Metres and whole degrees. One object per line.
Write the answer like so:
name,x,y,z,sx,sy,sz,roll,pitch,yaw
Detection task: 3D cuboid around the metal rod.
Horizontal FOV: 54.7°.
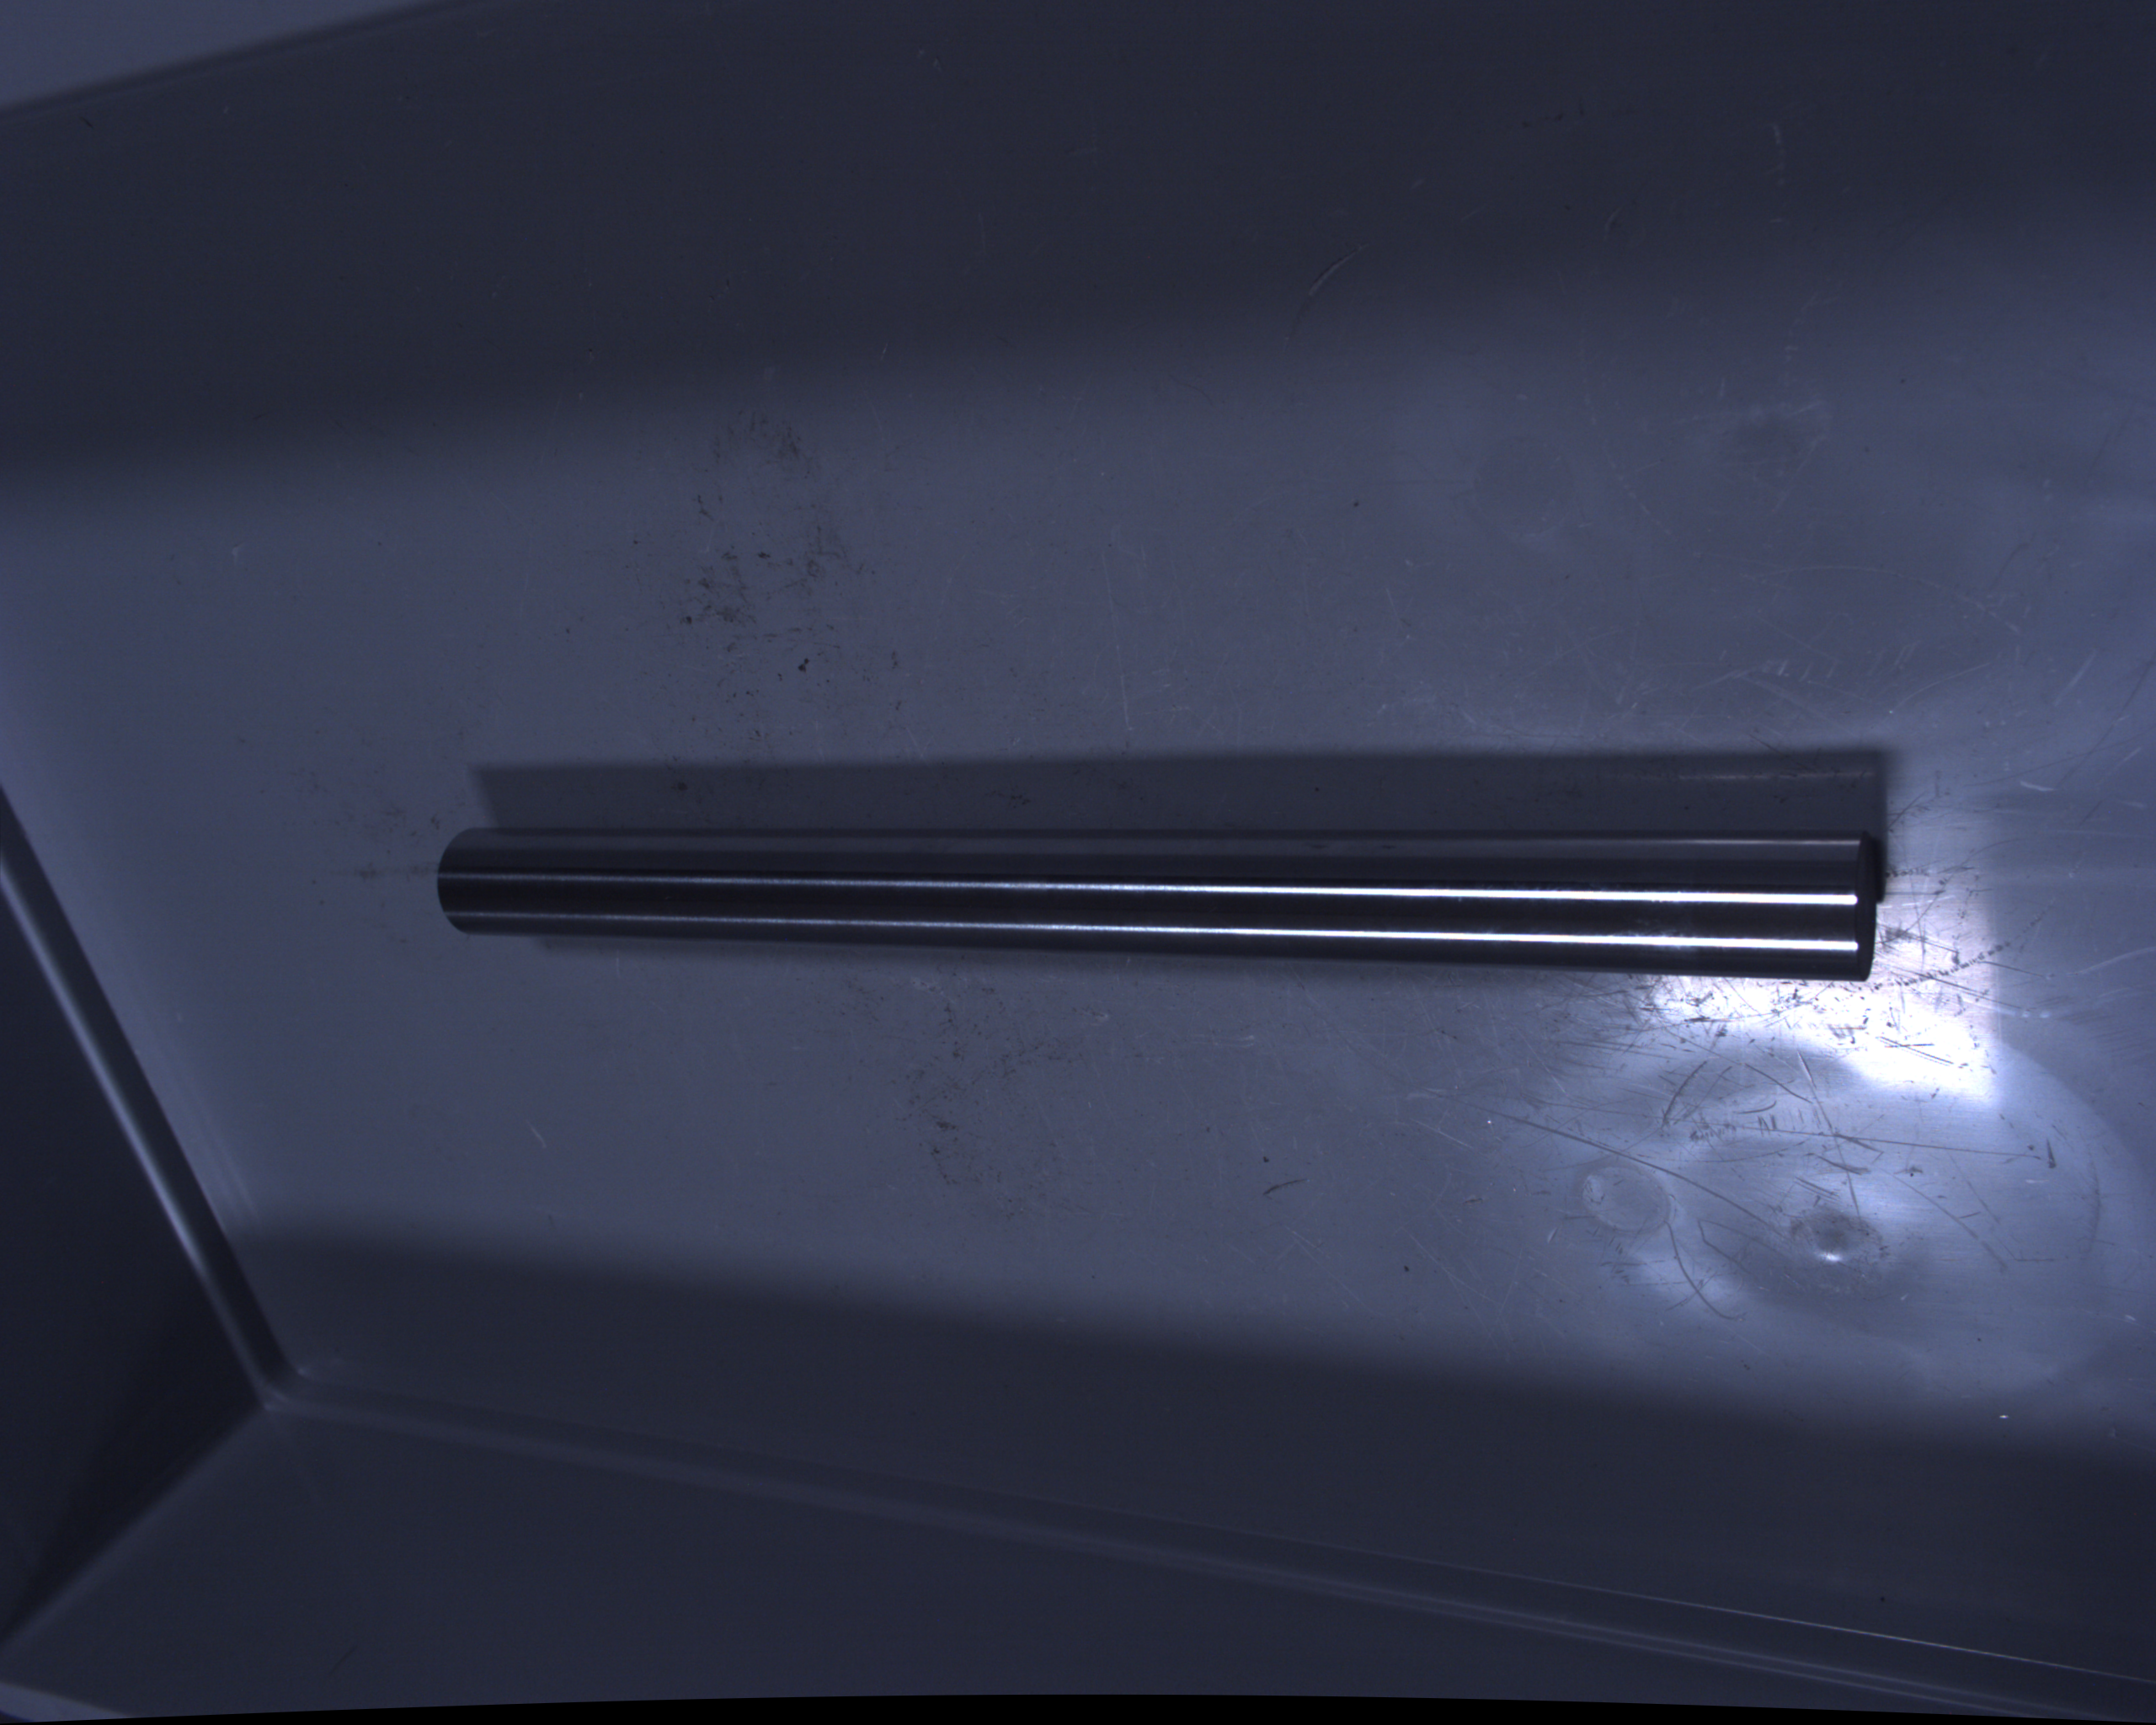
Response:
metal rod,-0.004,0.006,0.410,0.301,0.025,0.025,1,119,27
